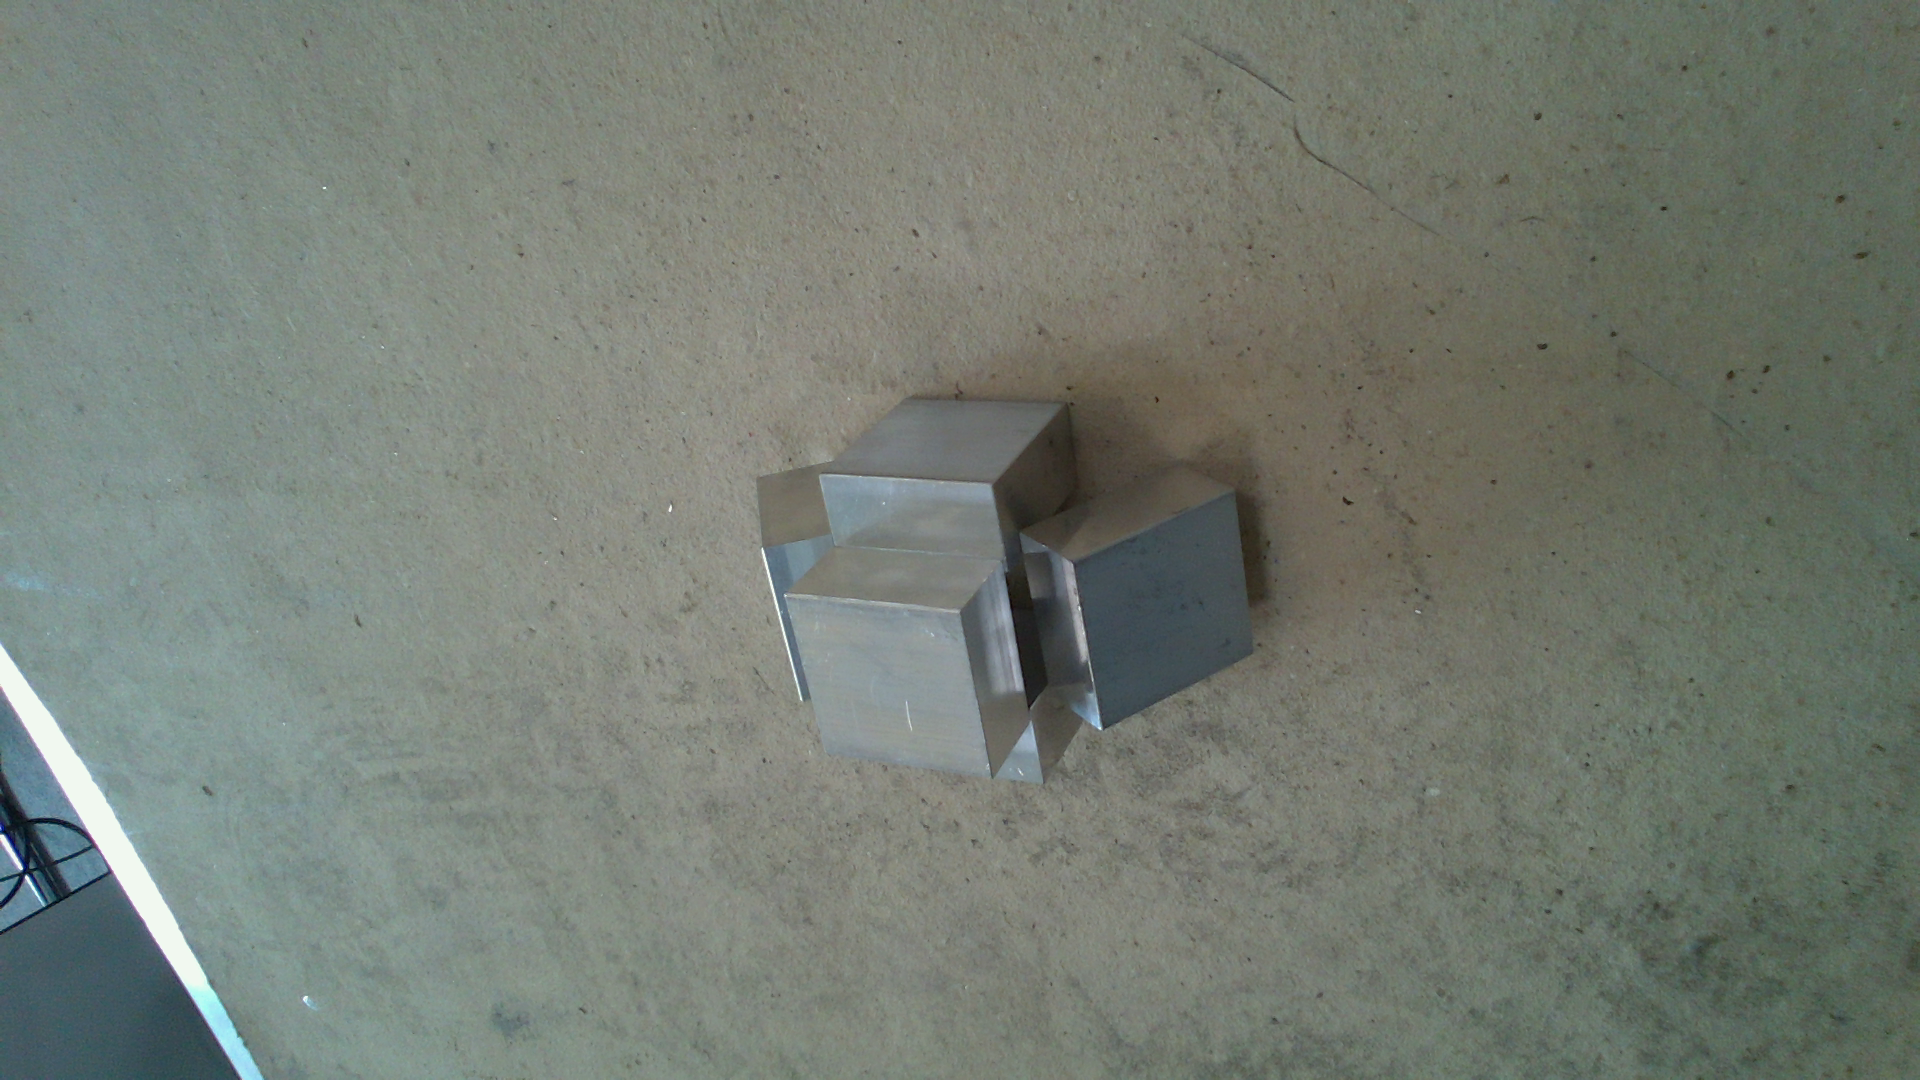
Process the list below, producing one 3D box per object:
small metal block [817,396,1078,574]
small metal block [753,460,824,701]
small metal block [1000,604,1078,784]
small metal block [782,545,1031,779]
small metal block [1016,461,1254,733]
[{"bbox_3d":[-0.002,-0.016,0.368,0.050,0.050,0.025,5,121,26],"label":"small metal block"},{"bbox_3d":[-0.042,0.010,0.404,0.025,0.050,0.050,-13,117,-5],"label":"small metal block"},{"bbox_3d":[0.009,0.042,0.399,0.050,0.050,0.025,3,120,27],"label":"small metal block"},{"bbox_3d":[-0.013,0.031,0.355,0.050,0.025,0.050,4,121,27],"label":"small metal block"},{"bbox_3d":[0.046,0.014,0.358,0.025,0.050,0.050,32,140,55],"label":"small metal block"}]
